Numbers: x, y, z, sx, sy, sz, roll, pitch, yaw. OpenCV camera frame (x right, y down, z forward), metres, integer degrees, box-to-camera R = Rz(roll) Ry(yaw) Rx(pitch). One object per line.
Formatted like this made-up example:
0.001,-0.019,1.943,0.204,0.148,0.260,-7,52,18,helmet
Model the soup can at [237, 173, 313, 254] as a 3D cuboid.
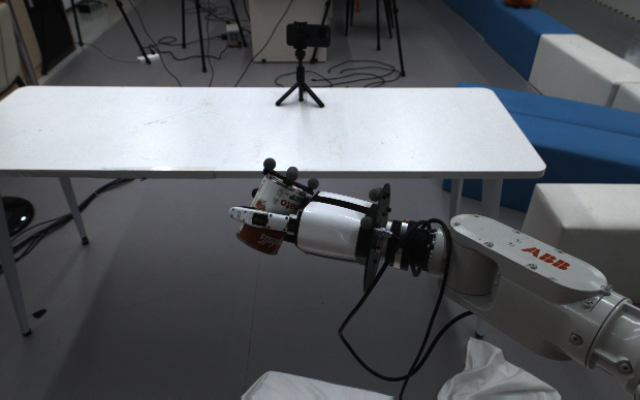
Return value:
-0.070,0.021,0.708,0.067,0.101,0.067,27,6,-3,soup can
